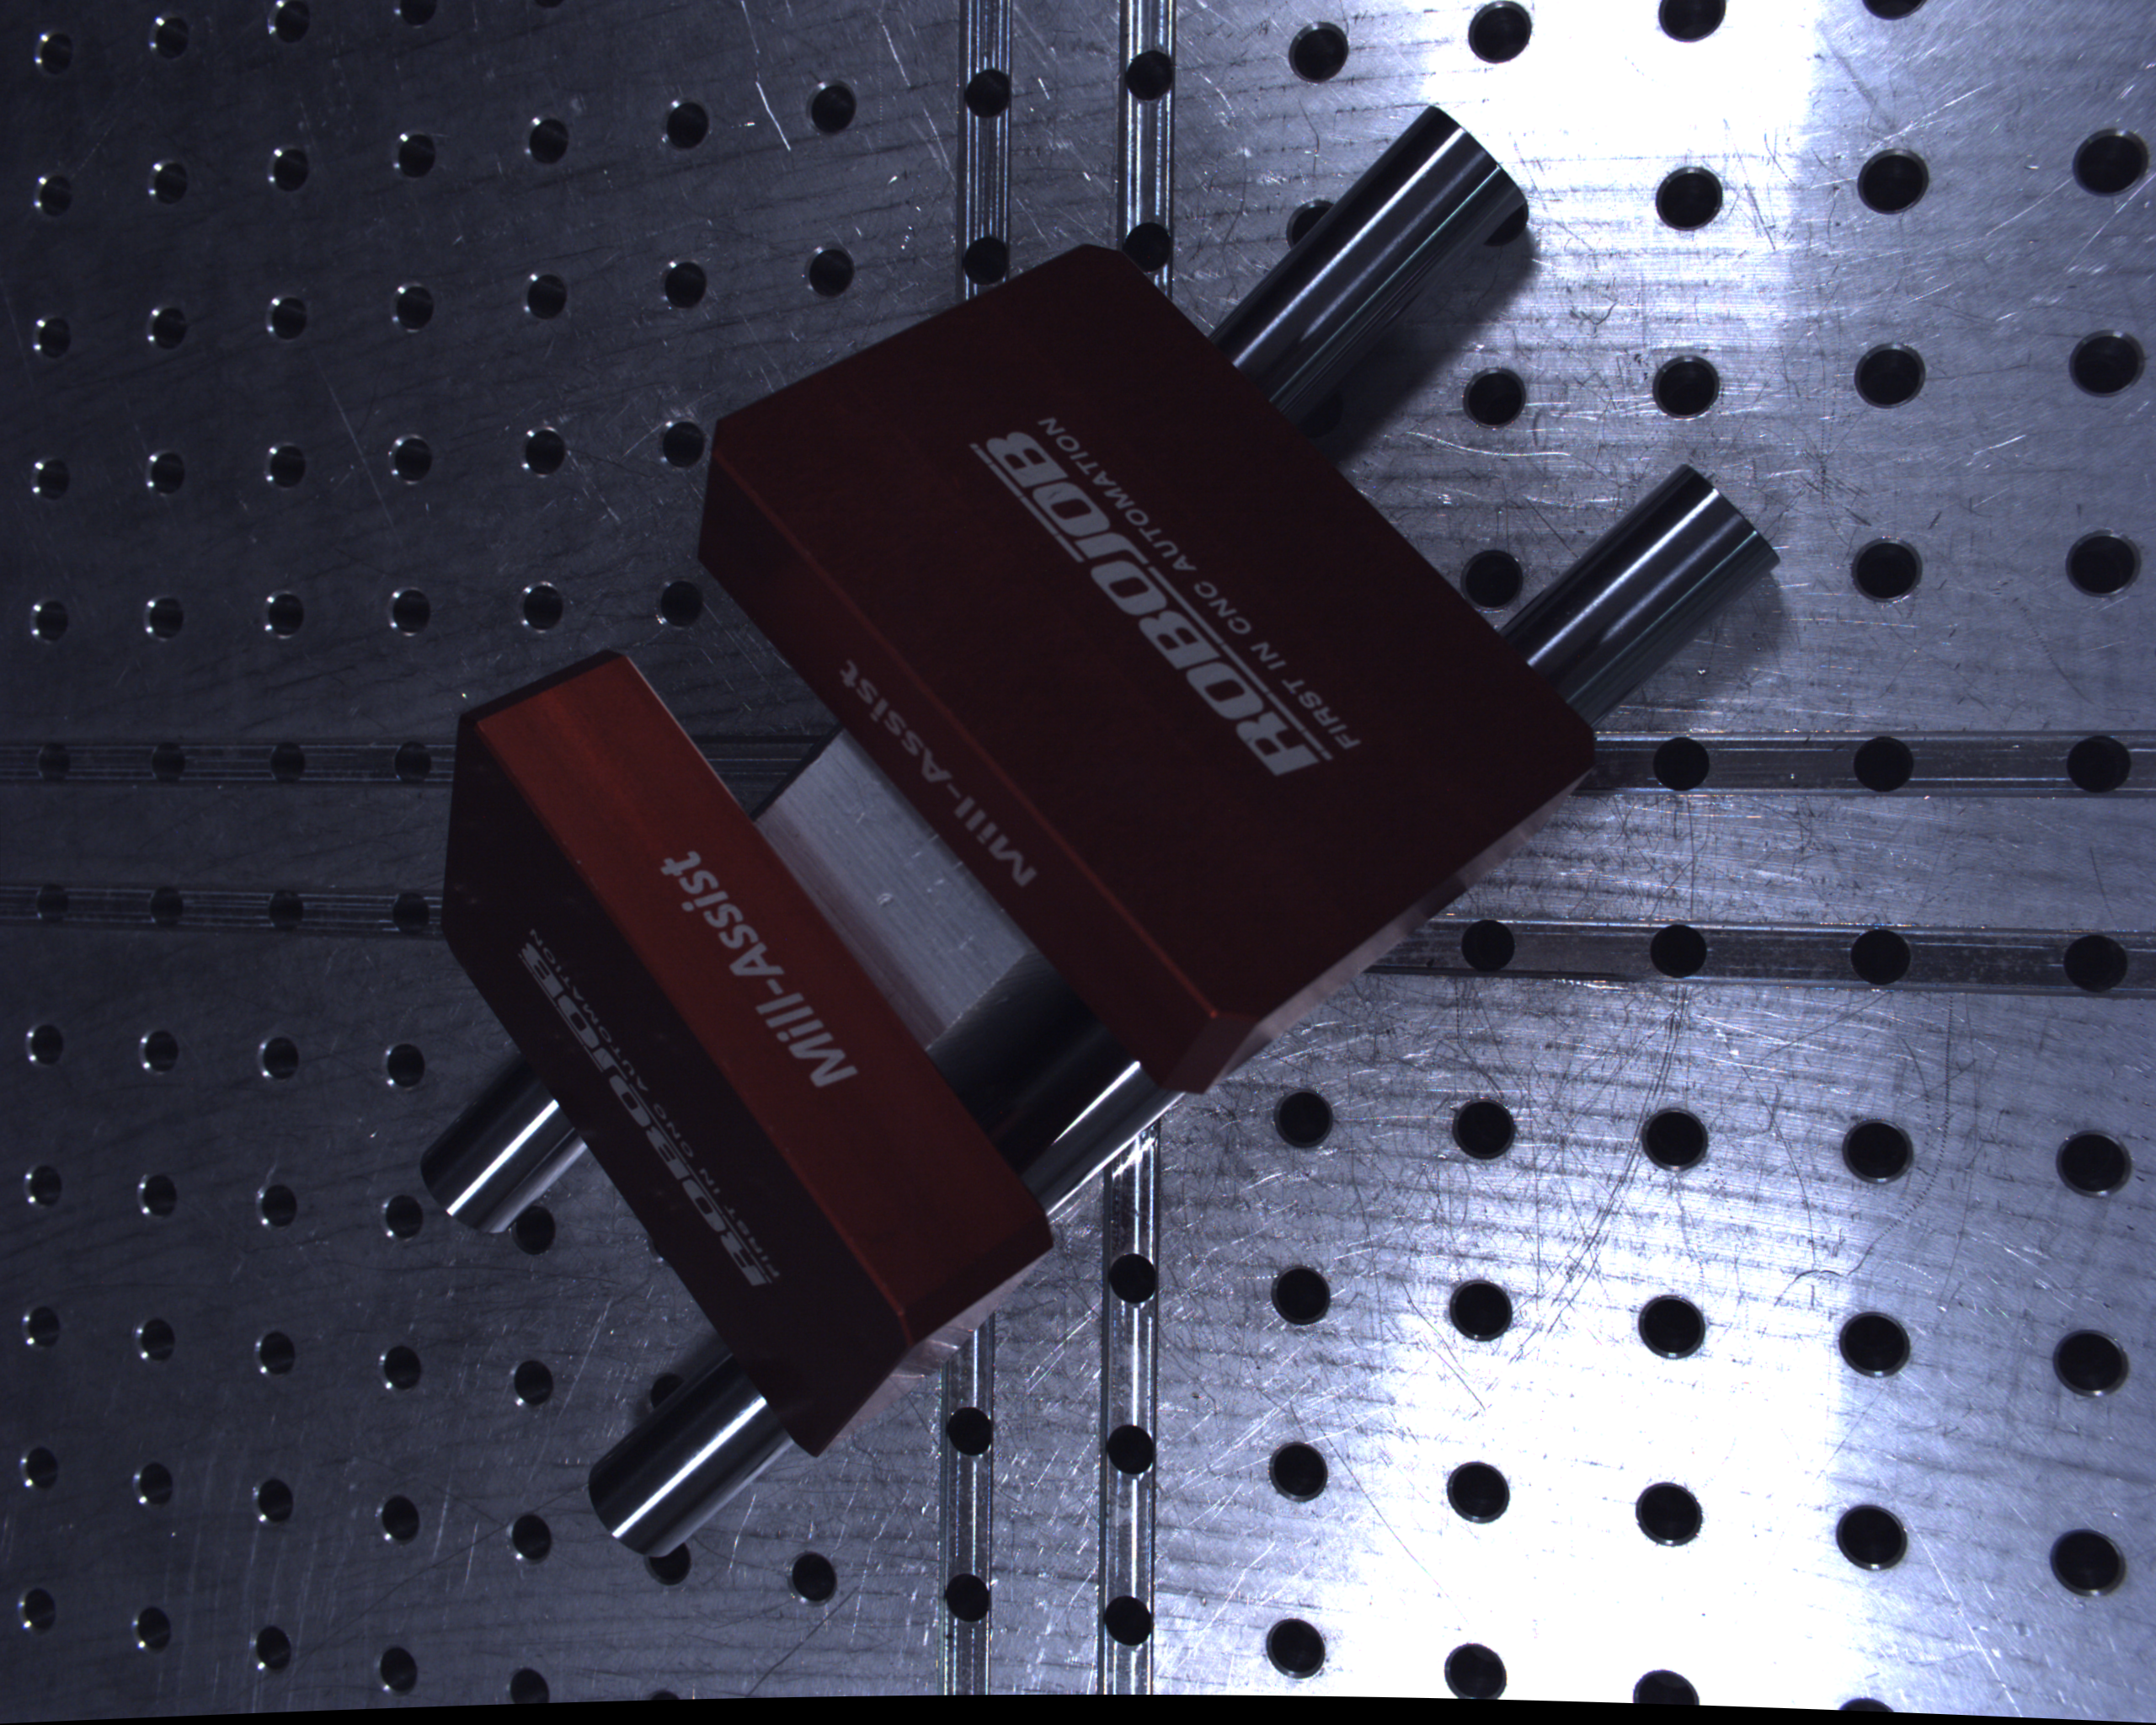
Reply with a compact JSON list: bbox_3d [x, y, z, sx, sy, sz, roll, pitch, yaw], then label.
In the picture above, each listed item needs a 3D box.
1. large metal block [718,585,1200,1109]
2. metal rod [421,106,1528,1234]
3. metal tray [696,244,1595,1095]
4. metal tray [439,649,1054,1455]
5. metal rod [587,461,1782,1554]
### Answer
[{"bbox_3d":[-0.013,-0.002,0.386,0.080,0.080,0.050,-44,77,14],"label":"large metal block"},{"bbox_3d":[-0.030,-0.030,0.422,0.299,0.025,0.025,-44,77,14],"label":"metal rod"},{"bbox_3d":[0.010,-0.037,0.350,0.091,0.030,0.130,-34,75,-29],"label":"metal tray"},{"bbox_3d":[-0.066,0.037,0.377,0.130,0.030,0.090,52,149,12],"label":"metal tray"},{"bbox_3d":[0.011,0.037,0.408,0.299,0.025,0.025,-43,77,14],"label":"metal rod"}]
